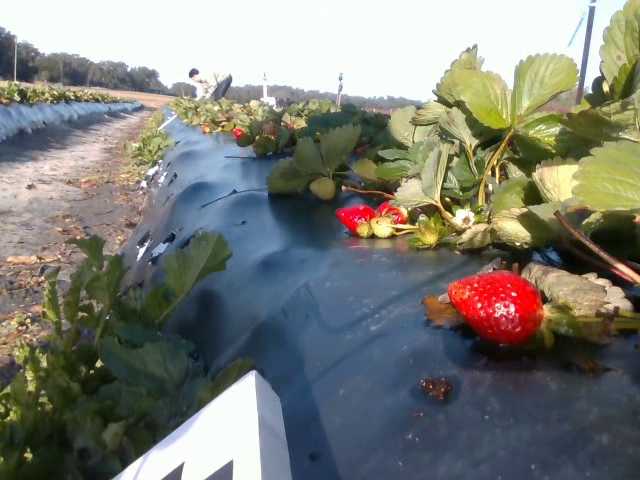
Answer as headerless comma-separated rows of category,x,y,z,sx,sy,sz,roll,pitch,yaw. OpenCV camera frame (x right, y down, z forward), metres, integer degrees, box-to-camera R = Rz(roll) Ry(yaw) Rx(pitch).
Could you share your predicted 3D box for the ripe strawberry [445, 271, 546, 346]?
ripe strawberry,0.070,0.028,0.276,0.054,0.037,0.046,11,28,3
